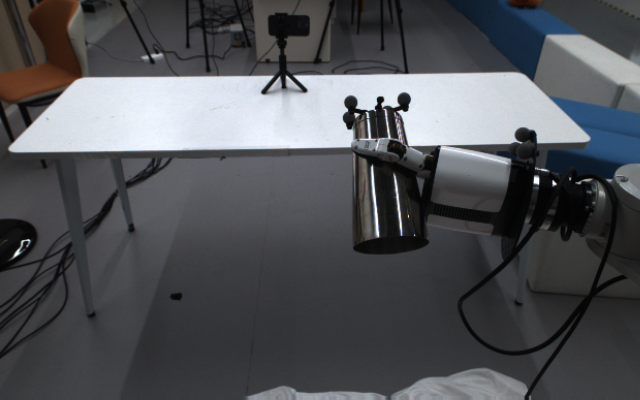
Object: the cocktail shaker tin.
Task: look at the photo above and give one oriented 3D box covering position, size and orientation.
[{"bbox_3d":[0.081,-0.024,0.612,0.093,0.093,0.170,-2,71,-6],"label":"cocktail shaker tin"}]
